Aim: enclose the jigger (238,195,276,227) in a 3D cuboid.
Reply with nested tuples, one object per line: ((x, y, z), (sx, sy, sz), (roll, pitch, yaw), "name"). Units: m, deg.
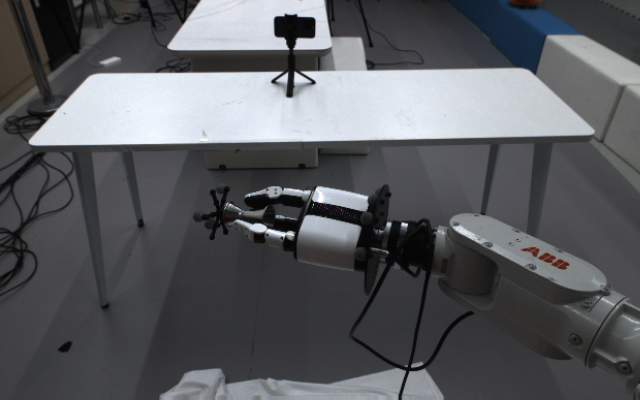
((-0.100, 0.019, 0.735), (0.071, 0.043, 0.043), (5, 34, 19), "jigger")
